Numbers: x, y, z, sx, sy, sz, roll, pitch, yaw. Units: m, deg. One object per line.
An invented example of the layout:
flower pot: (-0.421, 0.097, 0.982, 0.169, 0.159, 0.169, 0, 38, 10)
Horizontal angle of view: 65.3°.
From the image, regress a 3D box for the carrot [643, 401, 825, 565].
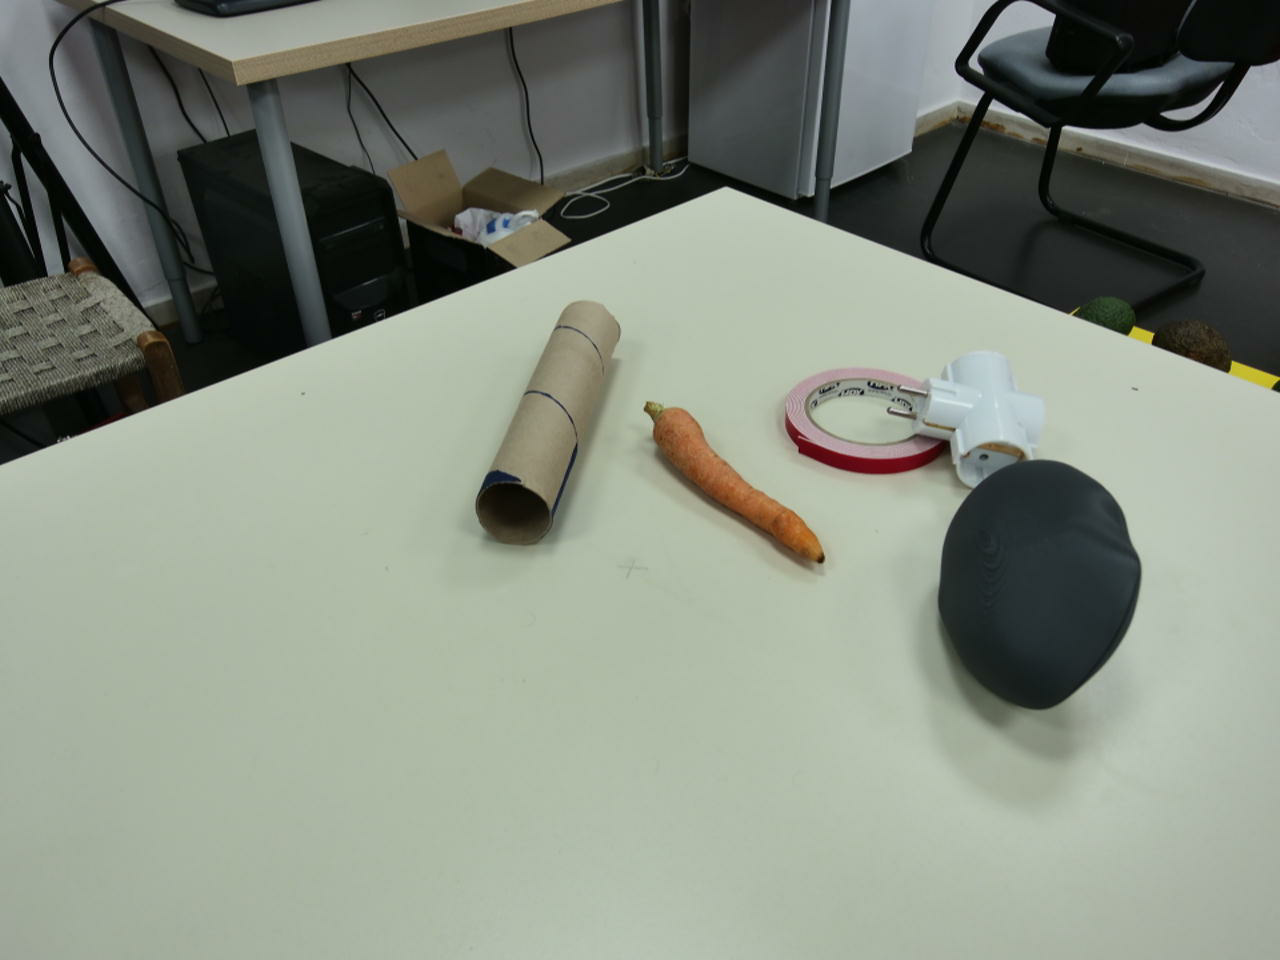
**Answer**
carrot: (0.054, -0.002, 0.615, 0.030, 0.032, 0.173, -21, 41, -25)
